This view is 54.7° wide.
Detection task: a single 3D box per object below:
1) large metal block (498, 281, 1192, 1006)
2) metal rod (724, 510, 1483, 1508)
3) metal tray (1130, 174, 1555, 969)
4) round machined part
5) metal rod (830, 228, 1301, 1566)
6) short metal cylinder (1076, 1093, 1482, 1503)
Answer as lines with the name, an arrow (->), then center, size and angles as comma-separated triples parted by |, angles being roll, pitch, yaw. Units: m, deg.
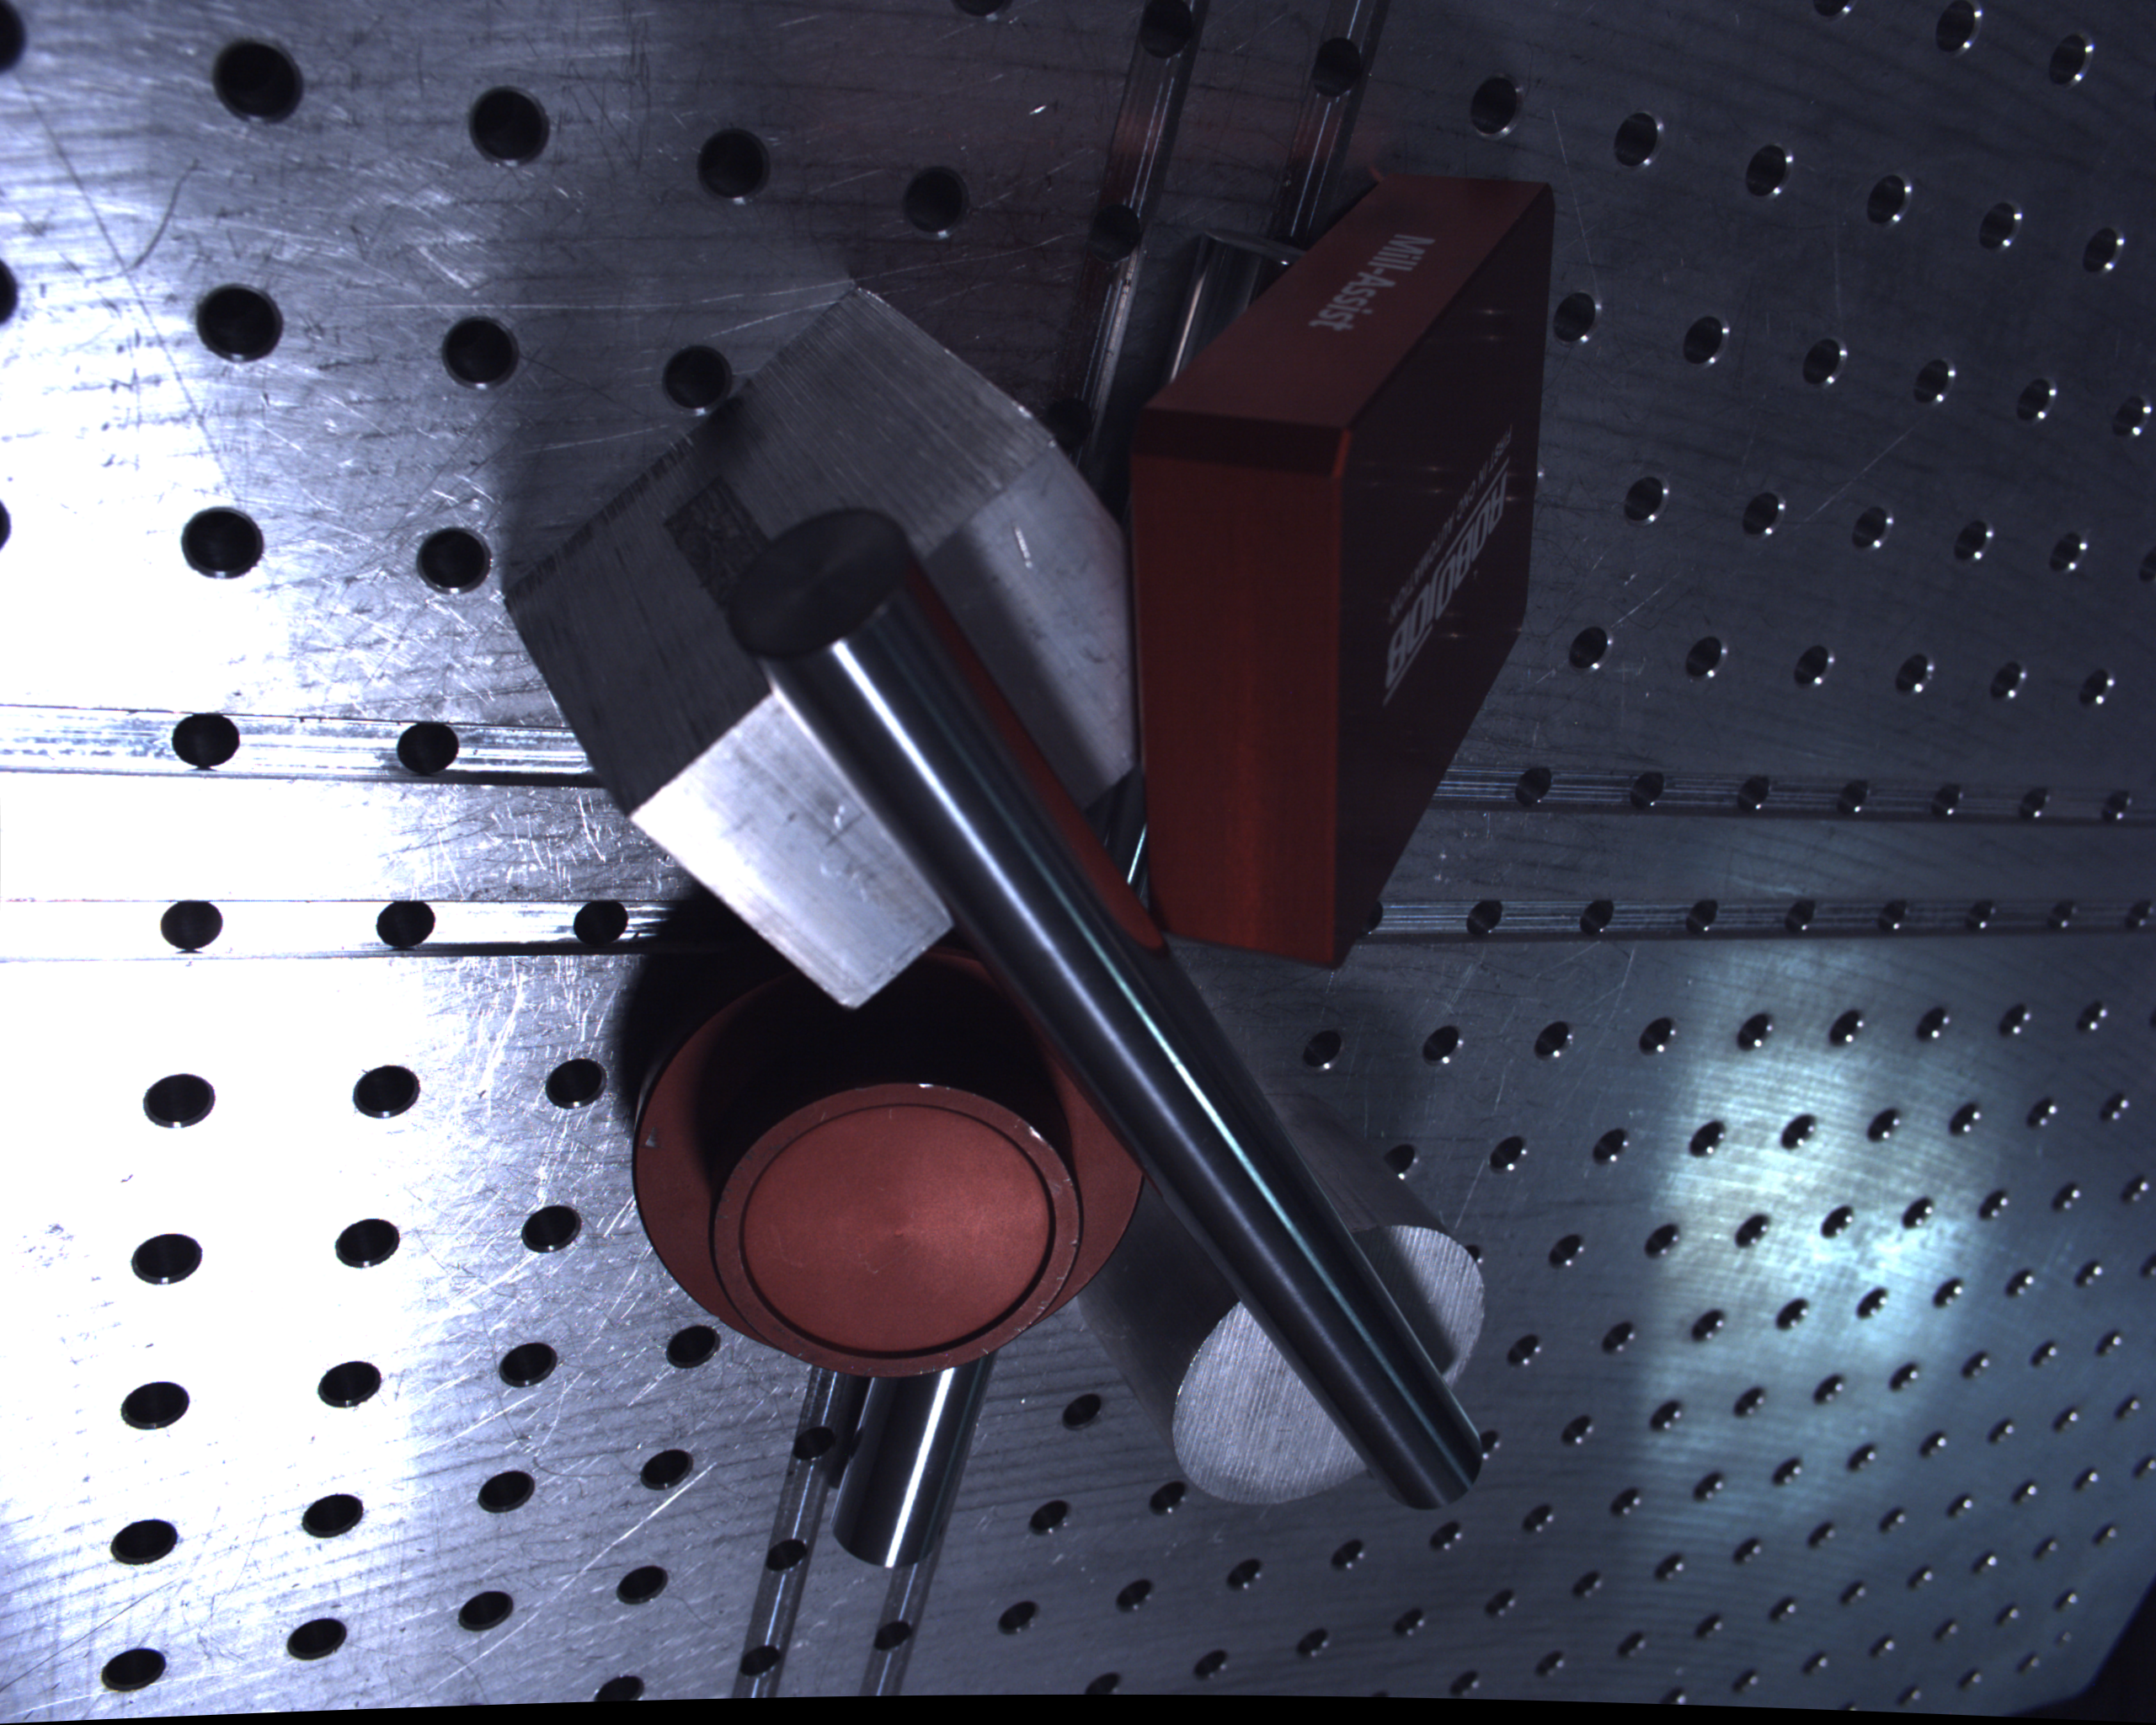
large metal block -> -0.037, -0.038, 0.334 | 0.080, 0.080, 0.050 | -41, 130, 0
metal rod -> 0.024, 0.050, 0.365 | 0.025, 0.025, 0.300 | -37, 138, -4
metal tray -> 0.049, -0.054, 0.352 | 0.131, 0.030, 0.089 | -53, 146, -50
round machined part -> -0.035, 0.060, 0.399 | 0.099, 0.042, 0.097 | -4, 117, -8
metal rod -> -0.005, 0.023, 0.424 | 0.025, 0.025, 0.298 | 2, 117, -30
short metal cylinder -> 0.046, 0.101, 0.485 | 0.081, 0.050, 0.079 | -14, 125, -21
